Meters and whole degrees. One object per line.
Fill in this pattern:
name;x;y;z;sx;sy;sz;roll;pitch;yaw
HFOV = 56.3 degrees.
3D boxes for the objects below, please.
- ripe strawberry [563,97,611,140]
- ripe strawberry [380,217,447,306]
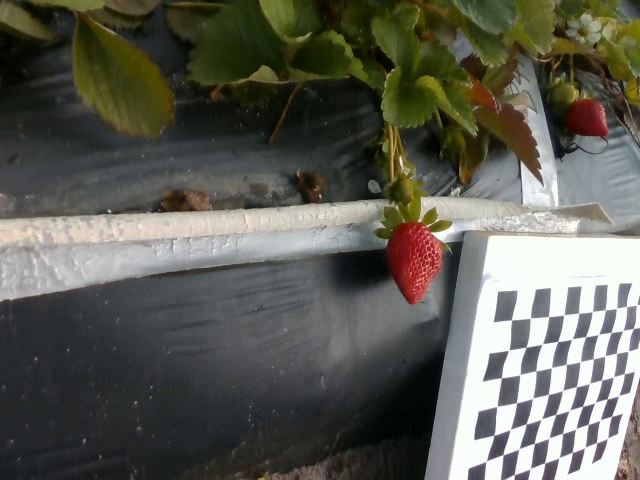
ripe strawberry;0.224;-0.100;0.495;0.037;0.048;0.031;18;-54;-39
ripe strawberry;0.051;0.014;0.329;0.030;0.053;0.048;-9;-44;35
